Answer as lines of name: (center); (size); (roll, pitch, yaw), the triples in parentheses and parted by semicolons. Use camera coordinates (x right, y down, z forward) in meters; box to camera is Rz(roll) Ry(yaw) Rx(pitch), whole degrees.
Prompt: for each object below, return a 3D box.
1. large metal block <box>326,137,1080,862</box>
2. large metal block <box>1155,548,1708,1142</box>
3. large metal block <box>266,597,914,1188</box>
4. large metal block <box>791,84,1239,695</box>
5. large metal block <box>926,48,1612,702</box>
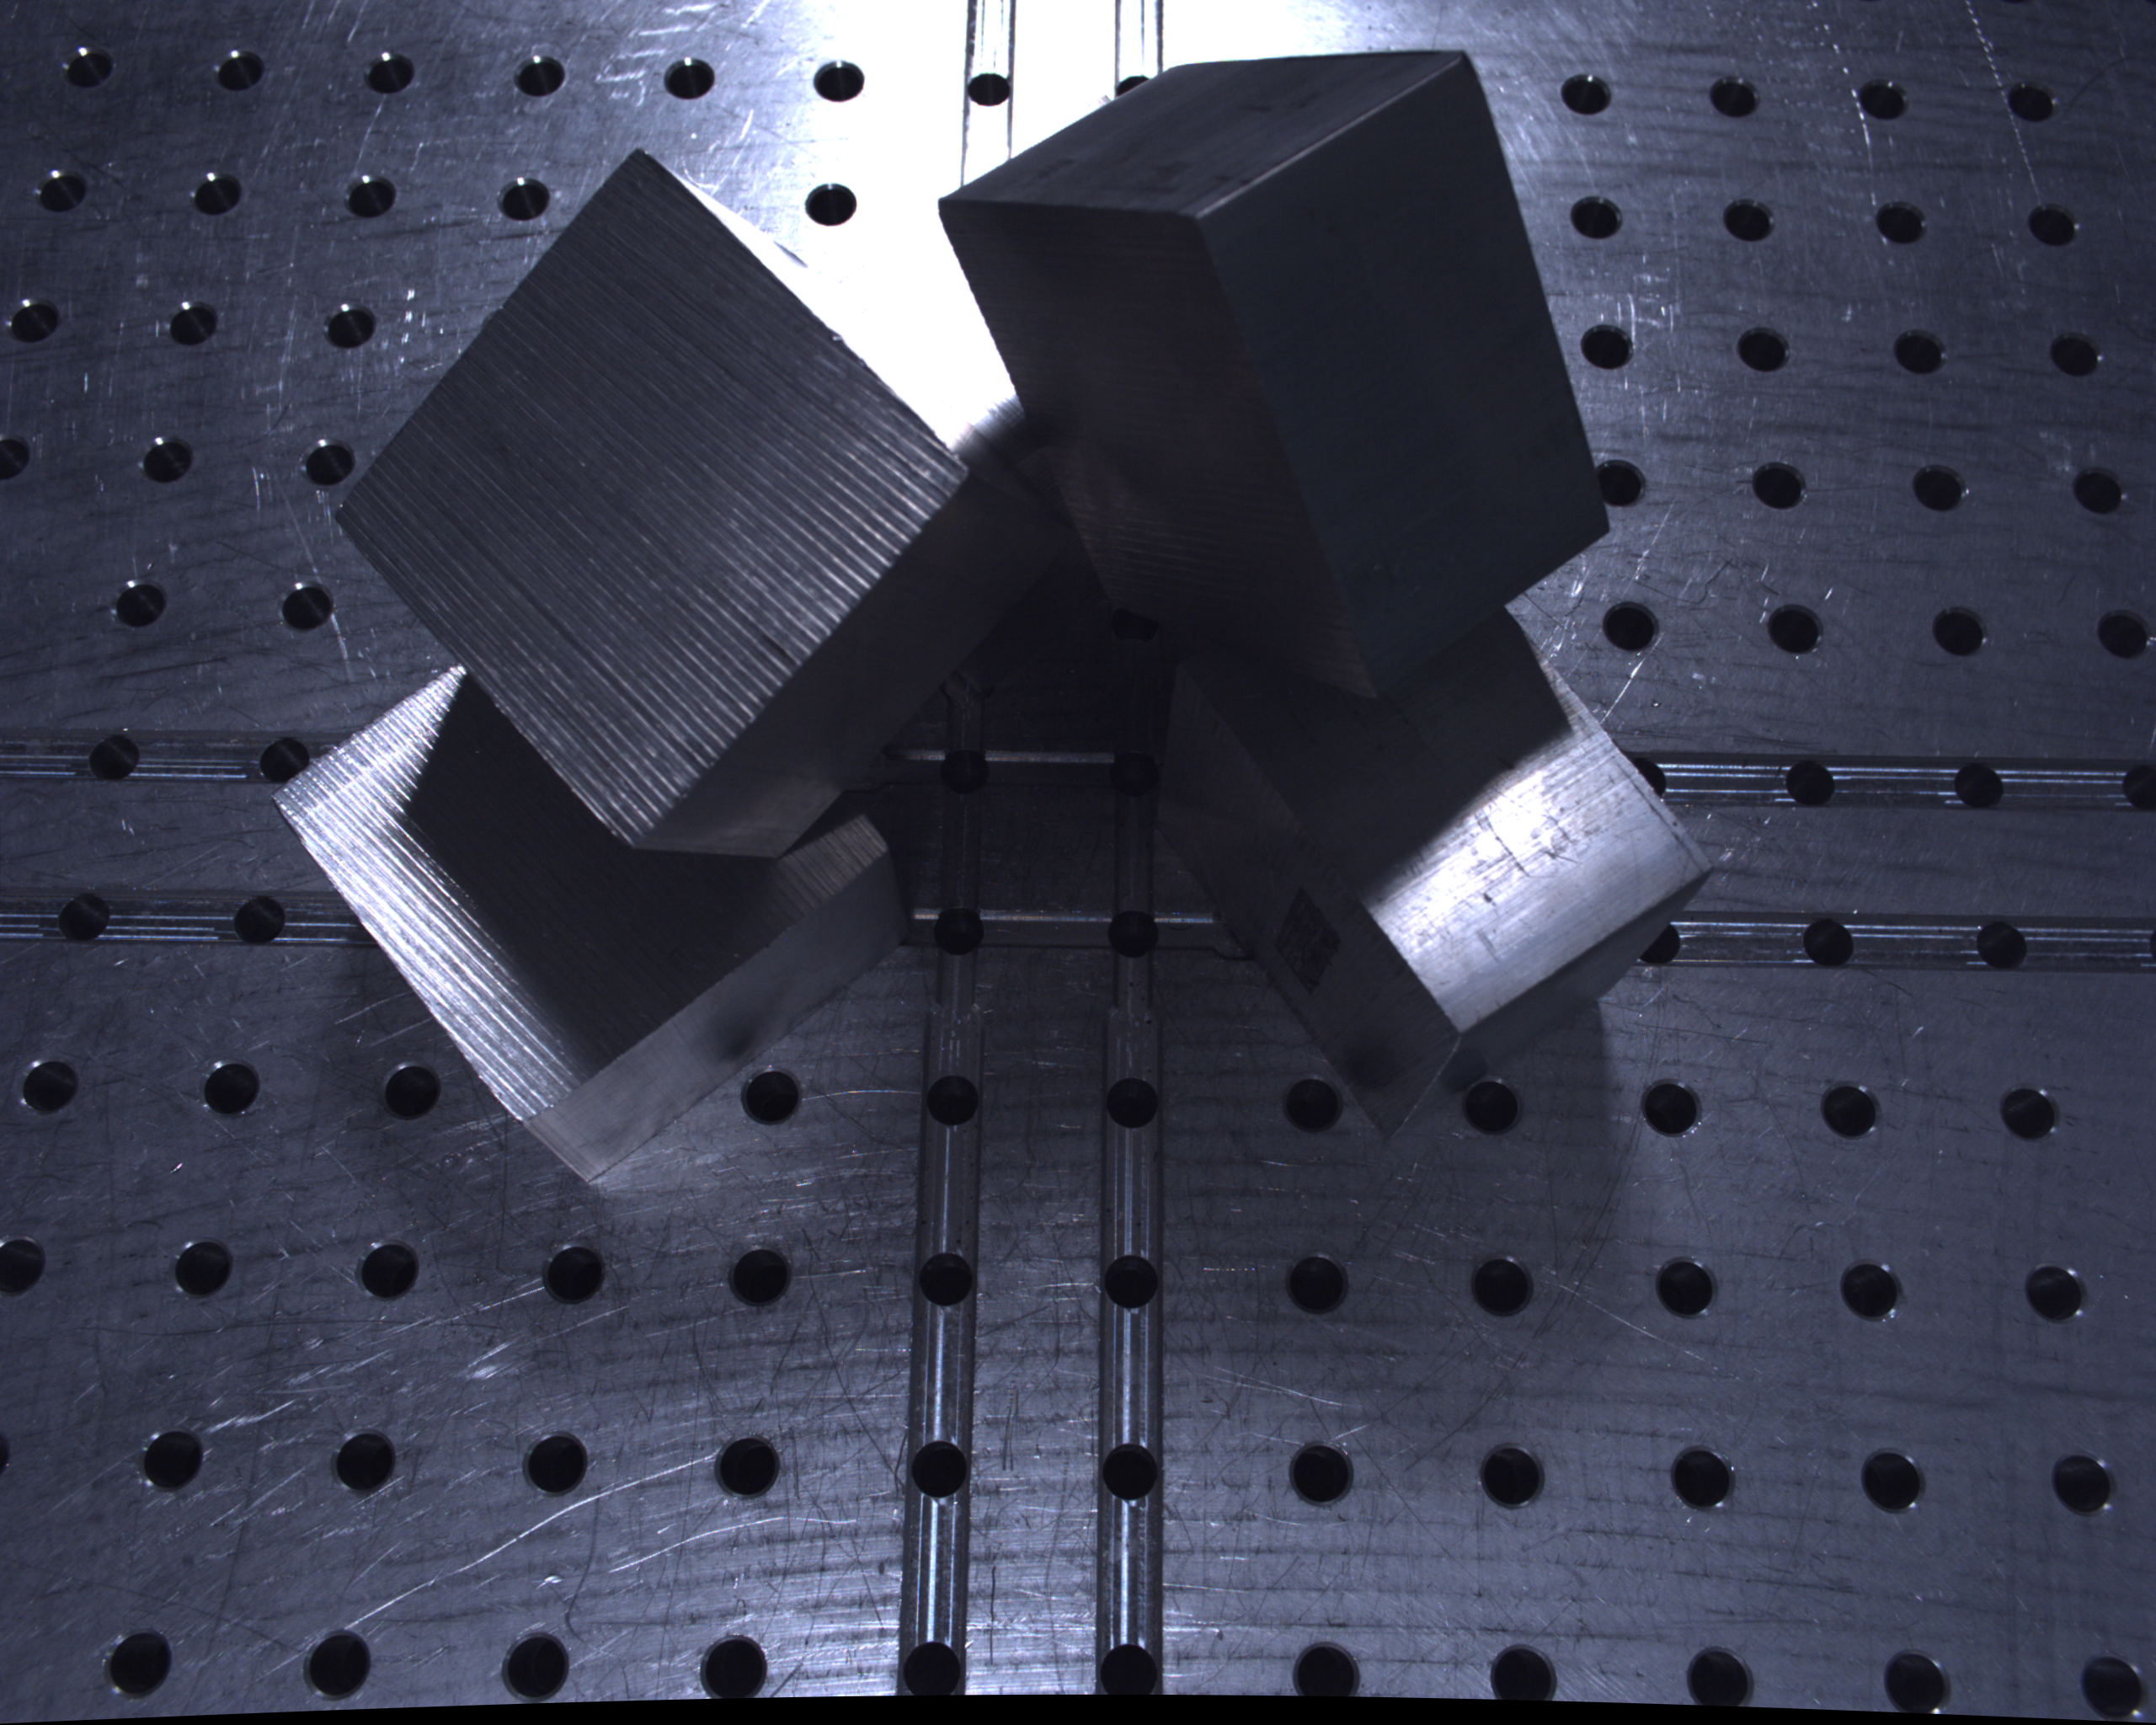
large metal block: (-0.062, -0.057, 0.349); (0.080, 0.050, 0.080); (46, 101, 14)
large metal block: (0.059, -0.003, 0.383); (0.050, 0.080, 0.080); (-32, 74, -11)
large metal block: (-0.089, 0.001, 0.396); (0.080, 0.050, 0.080); (-38, 75, -13)
large metal block: (-0.008, -0.091, 0.414); (0.080, 0.080, 0.050); (-40, 75, -13)
large metal block: (0.030, -0.081, 0.337); (0.050, 0.080, 0.080); (-36, 32, -17)
